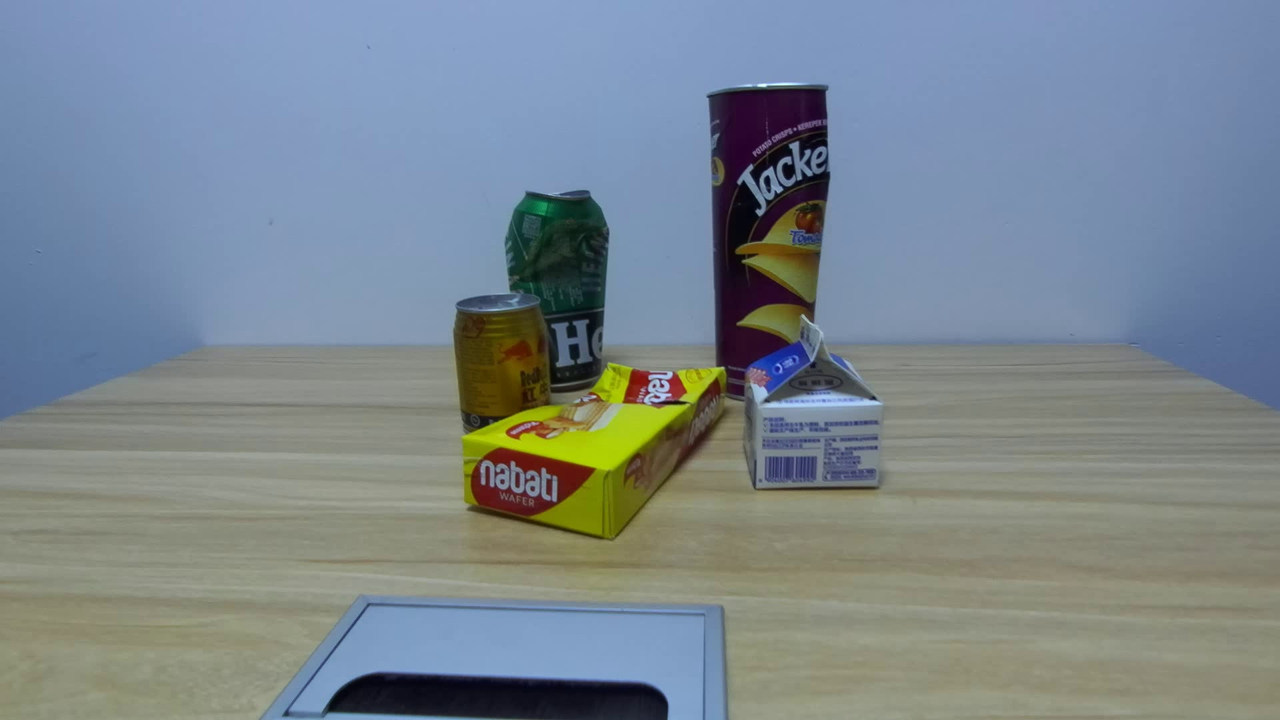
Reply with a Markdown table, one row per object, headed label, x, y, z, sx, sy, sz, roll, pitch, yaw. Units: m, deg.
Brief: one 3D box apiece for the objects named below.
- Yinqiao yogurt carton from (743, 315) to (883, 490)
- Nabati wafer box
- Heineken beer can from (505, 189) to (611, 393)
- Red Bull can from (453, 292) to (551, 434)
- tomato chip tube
| label | x | y | z | sx | sy | sz | roll | pitch | yaw |
| --- | --- | --- | --- | --- | --- | --- | --- | --- | --- |
| Yinqiao yogurt carton | 0.102 | 0.022 | 0.425 | 0.074 | 0.092 | 0.075 | -1 | 14 | 3 |
| Nabati wafer box | -0.019 | 0.043 | 0.460 | 0.106 | 0.042 | 0.205 | 6 | 16 | 23 |
| Heineken beer can | -0.070 | -0.058 | 0.592 | 0.077 | 0.164 | 0.066 | 5 | 19 | 10 |
| Red Bull can | -0.099 | 0.004 | 0.510 | 0.067 | 0.093 | 0.067 | -1 | 16 | 1 |
| tomato chip tube | 0.098 | -0.087 | 0.553 | 0.076 | 0.235 | 0.077 | -5 | 14 | -11 |
